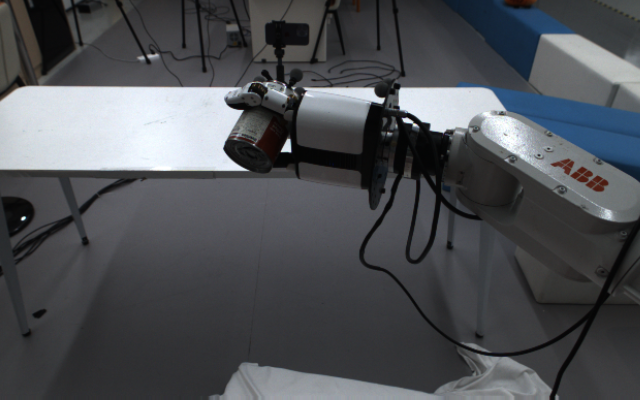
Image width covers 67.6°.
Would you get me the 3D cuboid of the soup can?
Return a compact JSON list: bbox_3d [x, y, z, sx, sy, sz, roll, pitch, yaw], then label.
[{"bbox_3d":[-0.072,-0.096,0.623,0.067,0.067,0.101,15,63,18],"label":"soup can"}]
